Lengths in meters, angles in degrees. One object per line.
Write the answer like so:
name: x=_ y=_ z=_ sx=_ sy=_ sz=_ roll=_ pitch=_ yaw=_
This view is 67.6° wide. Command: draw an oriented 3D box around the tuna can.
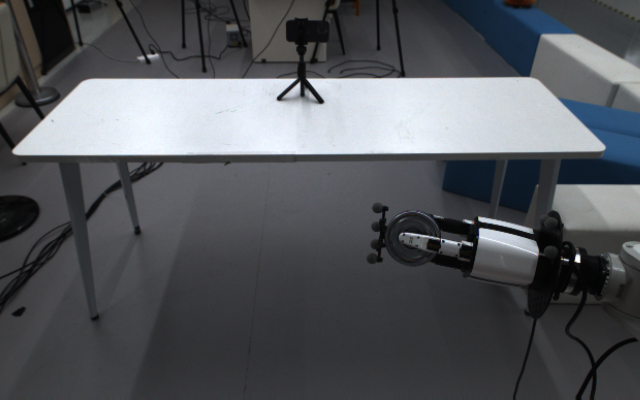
tuna can: x=0.146 y=0.056 z=0.743 sx=0.085 sy=0.085 sz=0.034 roll=10 pitch=2 yaw=11
